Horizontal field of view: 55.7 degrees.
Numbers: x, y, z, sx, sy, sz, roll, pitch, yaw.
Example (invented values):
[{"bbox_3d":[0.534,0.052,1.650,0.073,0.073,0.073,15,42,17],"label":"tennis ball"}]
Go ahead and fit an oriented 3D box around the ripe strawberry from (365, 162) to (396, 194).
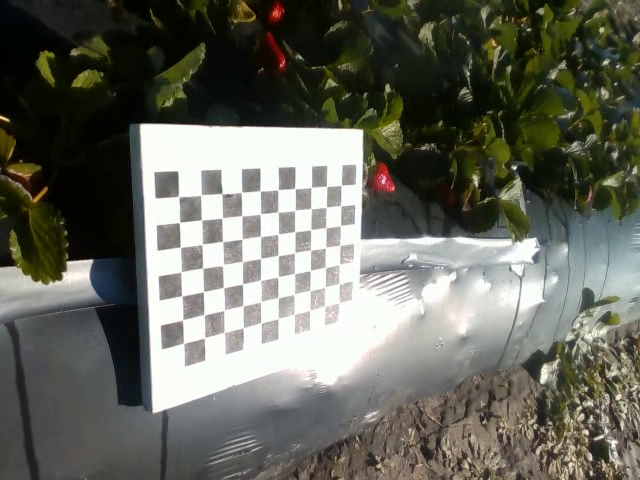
[{"bbox_3d":[0.089,-0.085,0.839,0.029,0.048,0.055,11,-30,48],"label":"ripe strawberry"}]
